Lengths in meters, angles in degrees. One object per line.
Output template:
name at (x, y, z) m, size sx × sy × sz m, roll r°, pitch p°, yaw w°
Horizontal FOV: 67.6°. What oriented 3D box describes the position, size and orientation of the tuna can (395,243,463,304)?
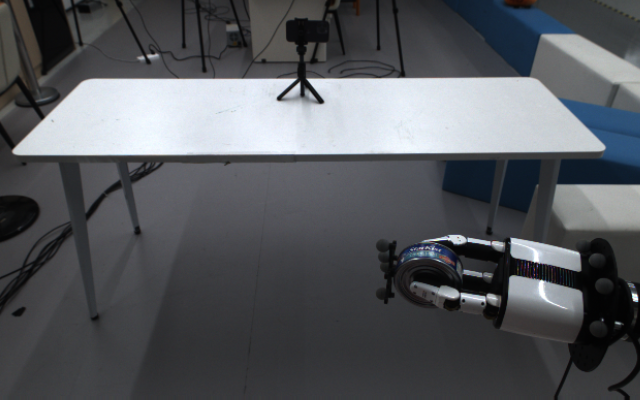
tuna can at (0.141, 0.092, 0.619) m, size 0.085 × 0.085 × 0.034 m, roll 9°, pitch 32°, yaw 10°
